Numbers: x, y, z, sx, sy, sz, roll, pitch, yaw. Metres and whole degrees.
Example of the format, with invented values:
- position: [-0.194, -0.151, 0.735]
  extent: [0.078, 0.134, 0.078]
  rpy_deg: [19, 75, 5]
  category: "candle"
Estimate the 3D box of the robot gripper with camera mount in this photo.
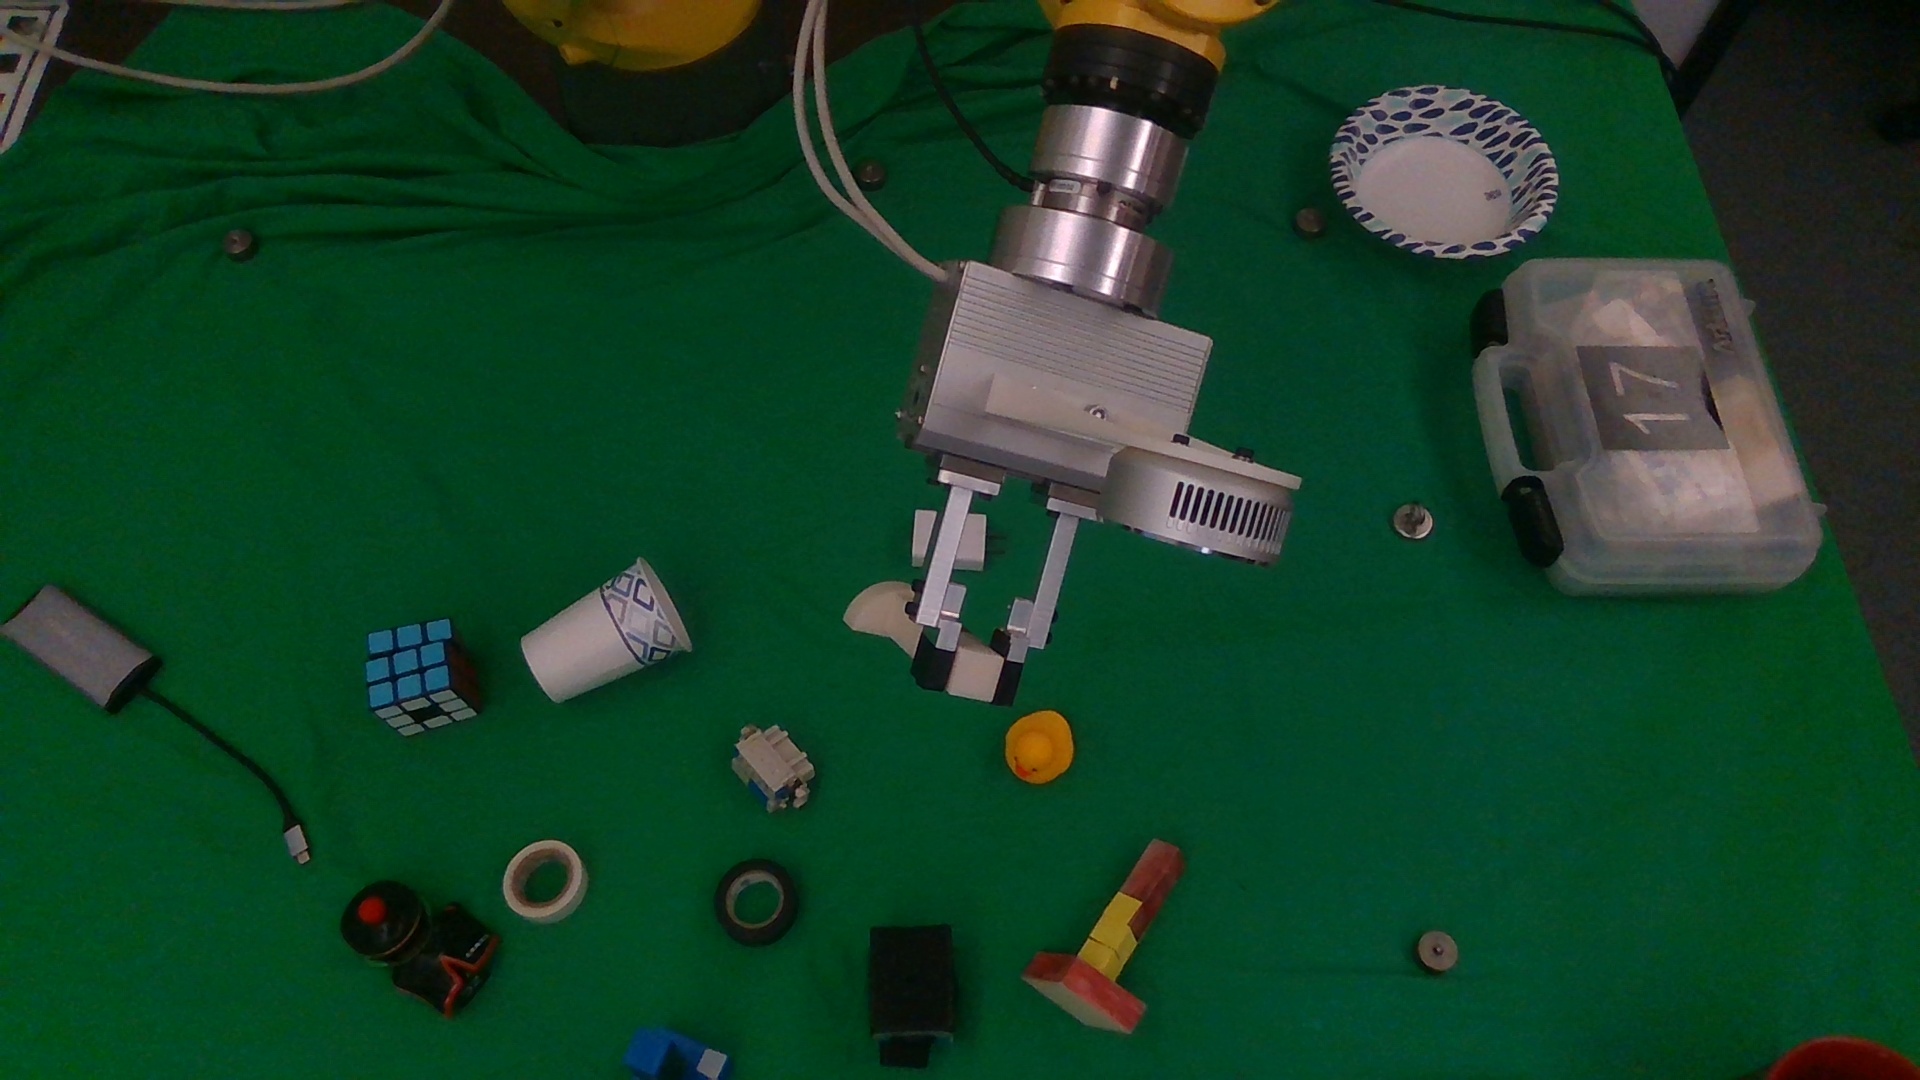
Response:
- position: [0.058, 0.004, 0.504]
  extent: [0.118, 0.194, 0.158]
  rpy_deg: [11, 97, -25]
  category: "robot gripper with camera mount"

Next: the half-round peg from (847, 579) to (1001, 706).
- position: [-0.011, 0.046, 0.635]
  extent: [0.054, 0.122, 0.031]
  rpy_deg: [11, 98, -22]
  category: "half-round peg"
